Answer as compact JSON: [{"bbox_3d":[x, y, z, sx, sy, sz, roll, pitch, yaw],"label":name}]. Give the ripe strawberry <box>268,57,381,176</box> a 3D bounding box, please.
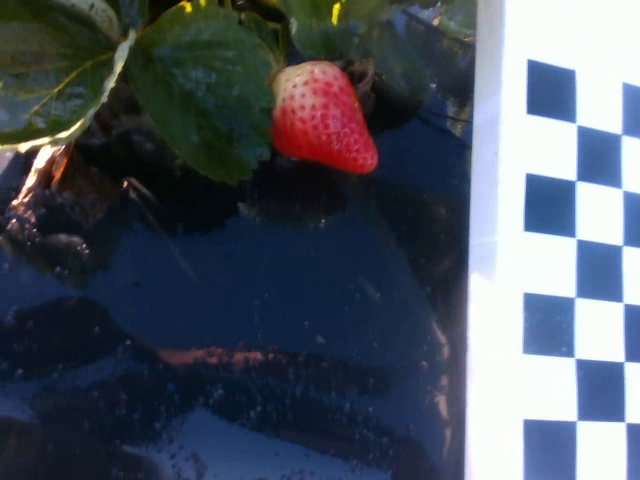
[{"bbox_3d":[0.003,-0.050,0.268,0.040,0.065,0.040,-45,6,-20],"label":"ripe strawberry"}]
